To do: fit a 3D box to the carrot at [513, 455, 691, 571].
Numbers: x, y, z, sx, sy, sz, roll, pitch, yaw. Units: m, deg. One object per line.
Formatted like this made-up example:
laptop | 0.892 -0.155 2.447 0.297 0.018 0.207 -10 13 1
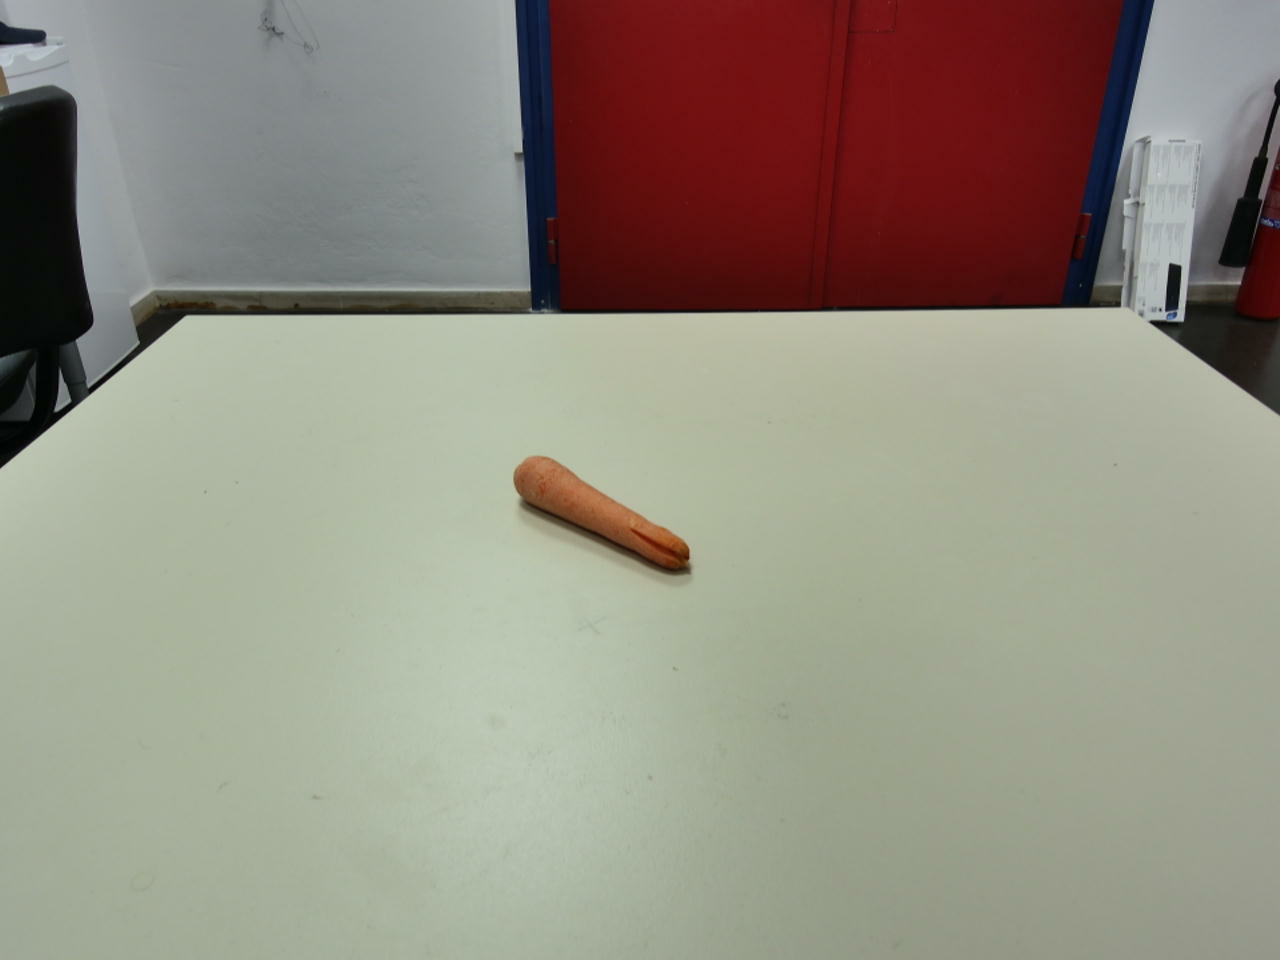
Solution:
carrot | -0.025 0.016 0.569 0.136 0.032 0.030 23 34 39
